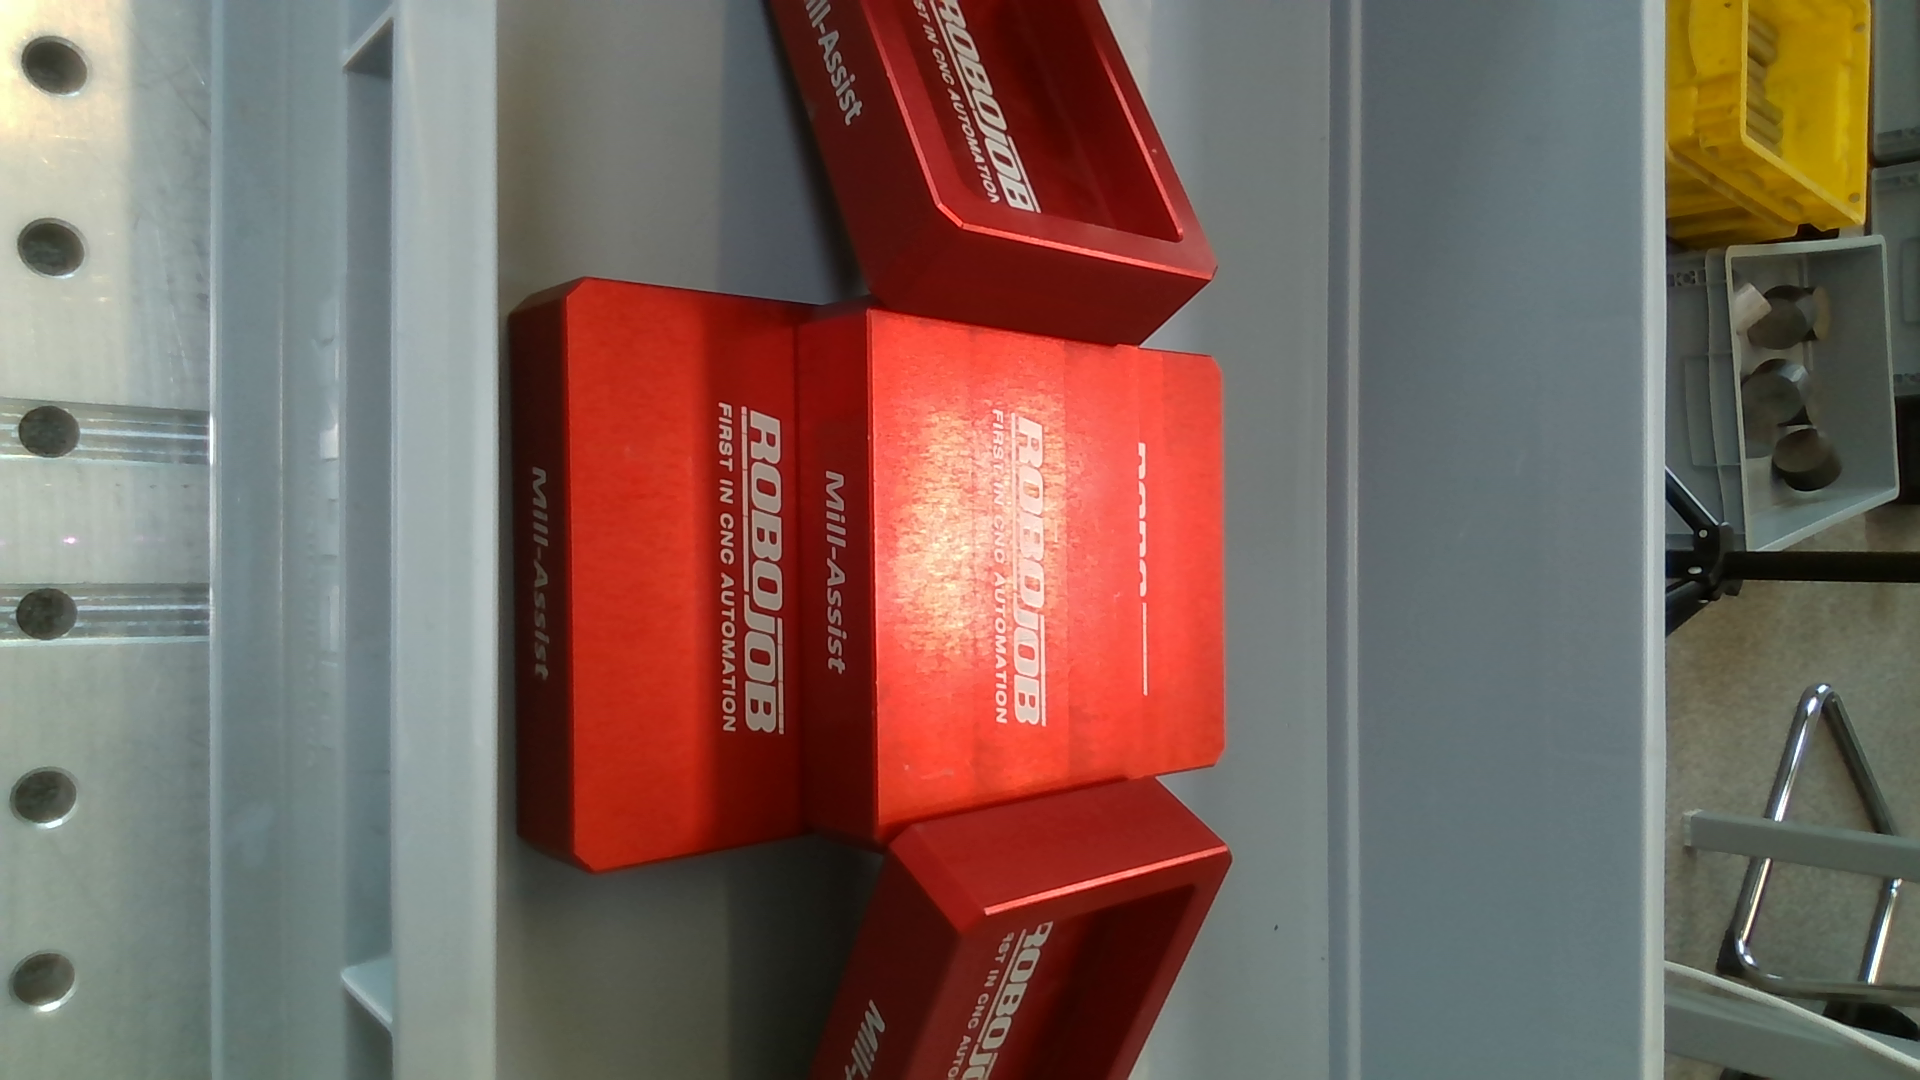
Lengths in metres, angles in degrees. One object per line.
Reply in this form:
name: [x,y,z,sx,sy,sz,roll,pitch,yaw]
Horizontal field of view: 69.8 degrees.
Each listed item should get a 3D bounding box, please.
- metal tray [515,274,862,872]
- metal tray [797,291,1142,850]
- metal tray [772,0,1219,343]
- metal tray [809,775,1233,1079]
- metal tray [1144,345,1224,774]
metal tray: [-0.059,0.007,0.336,0.090,0.030,0.130,-1,91,-40]
metal tray: [0.005,0.007,0.351,0.090,0.030,0.130,-2,92,-40]
metal tray: [0.004,-0.116,0.350,0.090,0.030,0.130,1,60,-39]
metal tray: [0.009,0.127,0.354,0.090,0.030,0.130,-3,121,-40]
metal tray: [0.040,0.006,0.419,0.090,0.030,0.130,-1,91,-40]
